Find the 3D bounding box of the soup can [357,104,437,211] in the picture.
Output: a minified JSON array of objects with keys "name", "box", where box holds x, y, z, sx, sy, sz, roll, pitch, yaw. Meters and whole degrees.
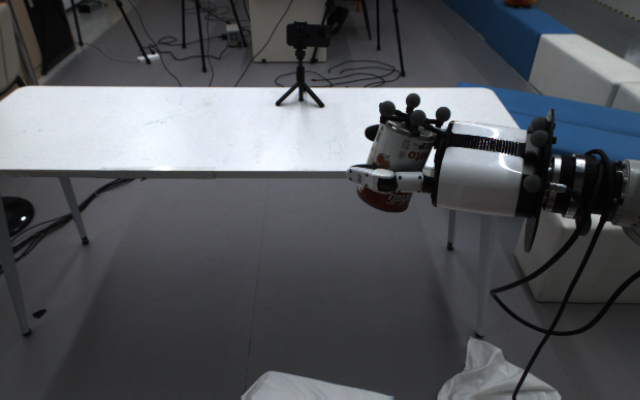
[{"name":"soup can","box":[0.092,-0.045,0.577,0.067,0.101,0.067,13,30,-8]}]
